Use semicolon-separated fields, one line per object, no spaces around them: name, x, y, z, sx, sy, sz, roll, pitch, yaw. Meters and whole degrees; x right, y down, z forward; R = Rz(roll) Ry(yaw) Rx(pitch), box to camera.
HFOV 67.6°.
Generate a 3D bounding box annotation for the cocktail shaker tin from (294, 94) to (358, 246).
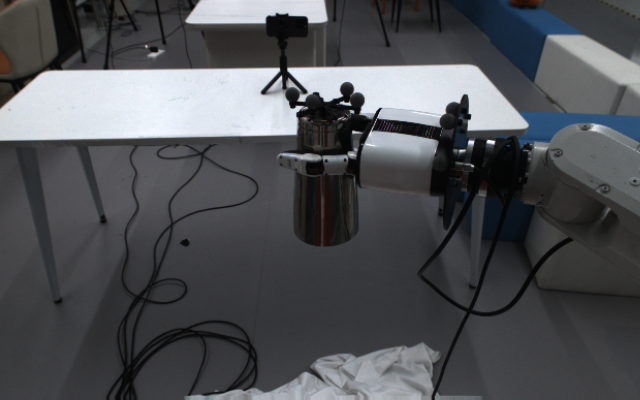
cocktail shaker tin;0.011;-0.038;0.635;0.093;0.170;0.093;-1;32;1
